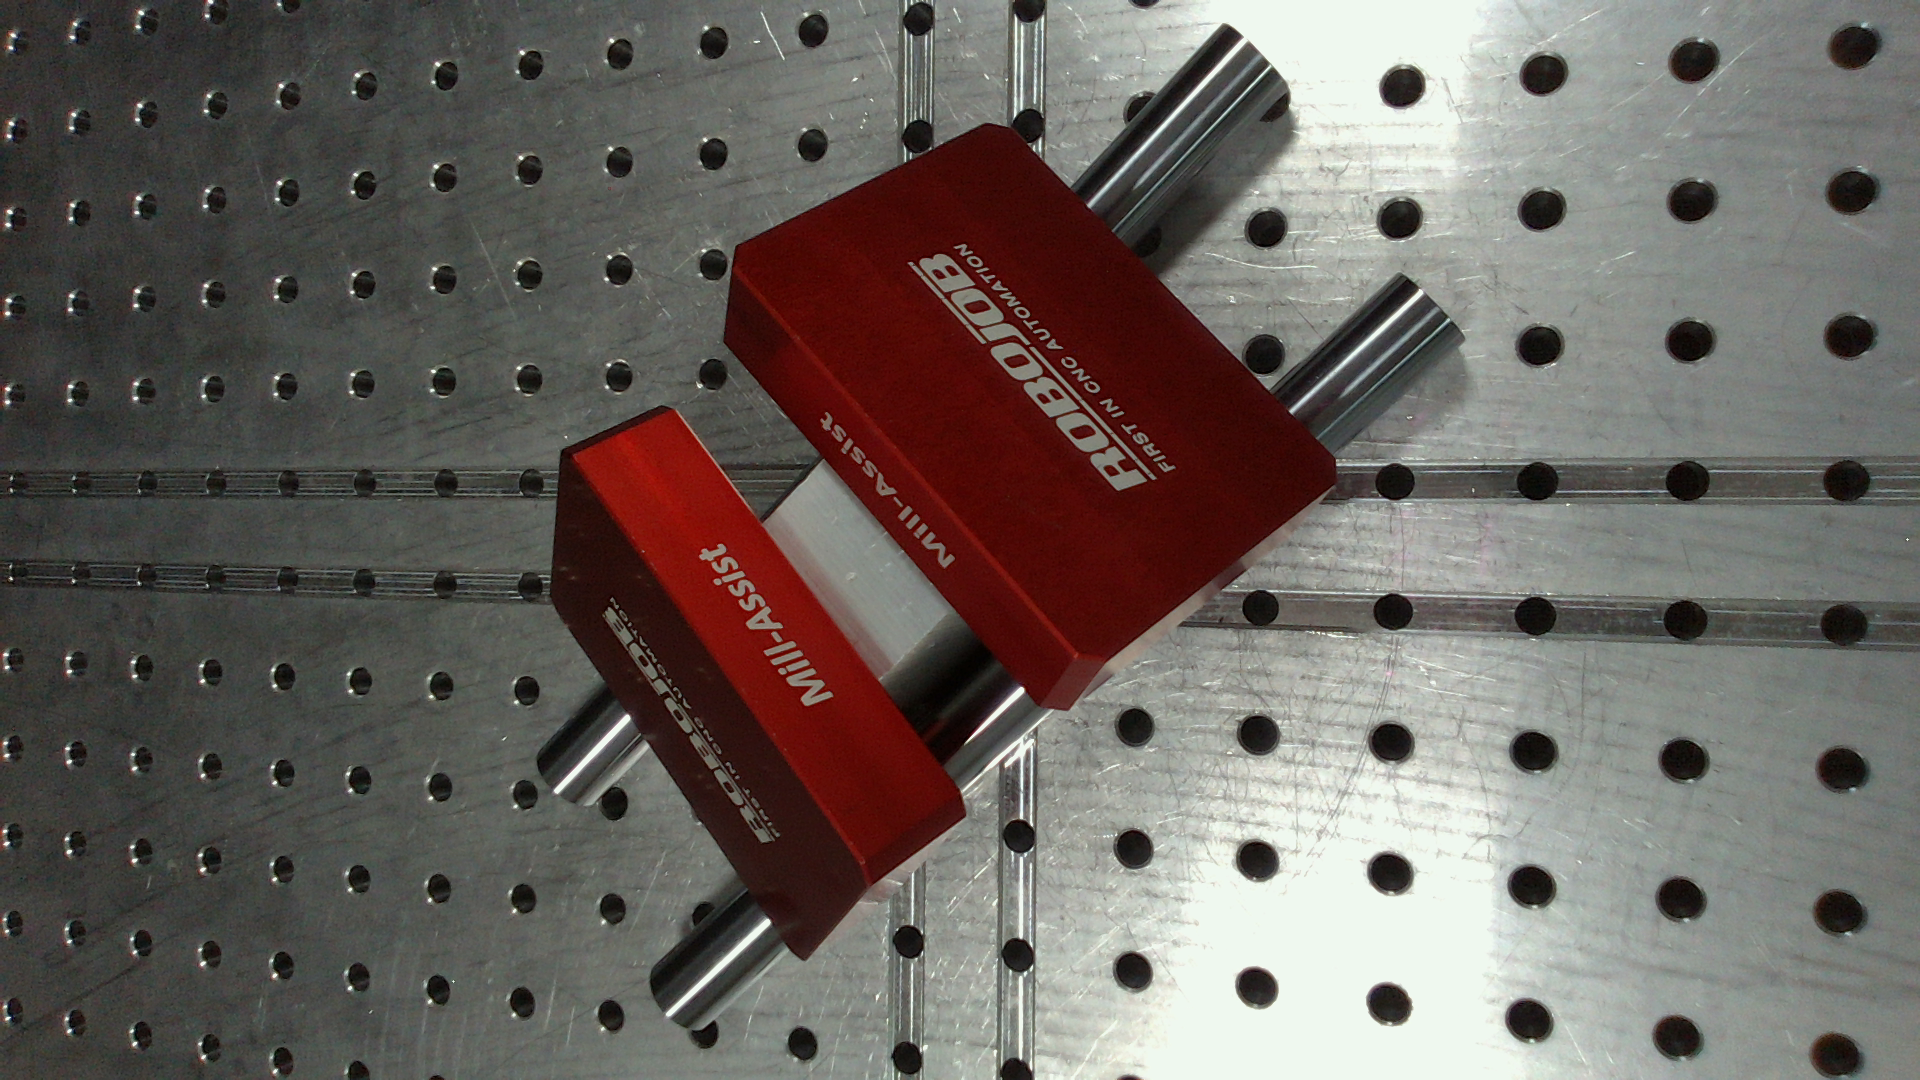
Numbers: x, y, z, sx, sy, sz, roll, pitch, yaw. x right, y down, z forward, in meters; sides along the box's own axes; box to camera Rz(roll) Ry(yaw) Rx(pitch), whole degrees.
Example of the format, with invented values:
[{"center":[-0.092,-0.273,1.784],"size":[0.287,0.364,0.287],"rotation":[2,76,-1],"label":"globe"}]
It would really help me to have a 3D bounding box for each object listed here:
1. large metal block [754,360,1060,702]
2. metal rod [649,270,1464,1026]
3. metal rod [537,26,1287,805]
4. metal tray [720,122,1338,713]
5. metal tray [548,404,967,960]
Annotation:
[{"center":[-0.007,0.001,0.371],"size":[0.080,0.080,0.050],"rotation":[-44,76,15],"label":"large metal block"},{"center":[0.017,0.040,0.393],"size":[0.300,0.025,0.025],"rotation":[-44,76,15],"label":"metal rod"},{"center":[-0.023,-0.027,0.407],"size":[0.300,0.025,0.025],"rotation":[-45,76,14],"label":"metal rod"},{"center":[0.016,-0.034,0.335],"size":[0.090,0.030,0.130],"rotation":[-34,75,-28],"label":"metal tray"},{"center":[-0.059,0.040,0.362],"size":[0.130,0.030,0.090],"rotation":[52,149,12],"label":"metal tray"}]
